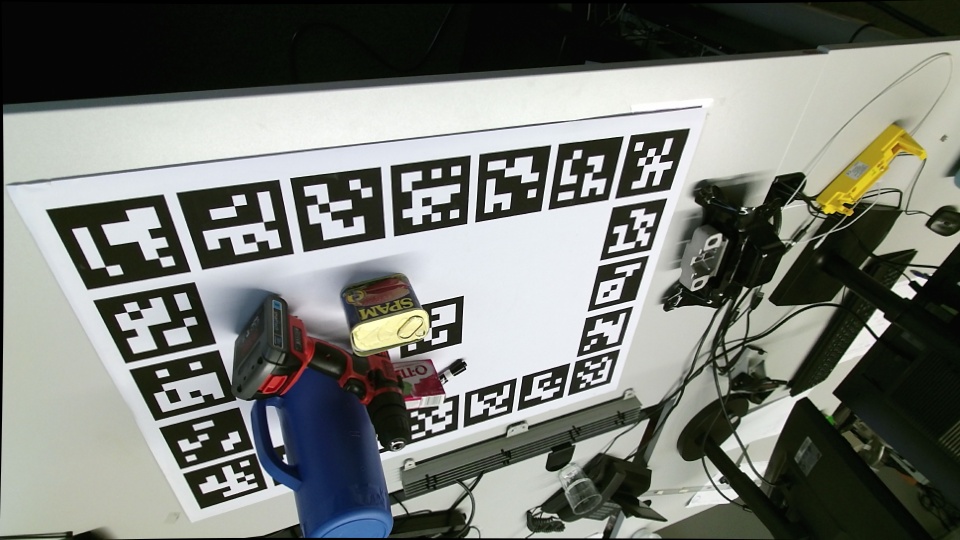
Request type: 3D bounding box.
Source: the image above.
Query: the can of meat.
[{"bbox_3d":[-0.127,0.067,0.714,0.102,0.083,0.058,-12,130,-19],"label":"can of meat"}]

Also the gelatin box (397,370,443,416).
[{"bbox_3d":[-0.111,0.190,0.824,0.090,0.073,0.030,-1,120,-25],"label":"gelatin box"}]

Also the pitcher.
[{"bbox_3d":[-0.215,0.263,0.721,0.189,0.242,0.133,18,111,-43],"label":"pitcher"}]

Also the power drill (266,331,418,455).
[{"bbox_3d":[-0.175,0.157,0.694,0.188,0.184,0.057,25,107,-32],"label":"power drill"}]

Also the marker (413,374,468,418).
[{"bbox_3d":[-0.073,0.211,0.892,0.121,0.019,0.020,-33,131,-3],"label":"marker"}]
